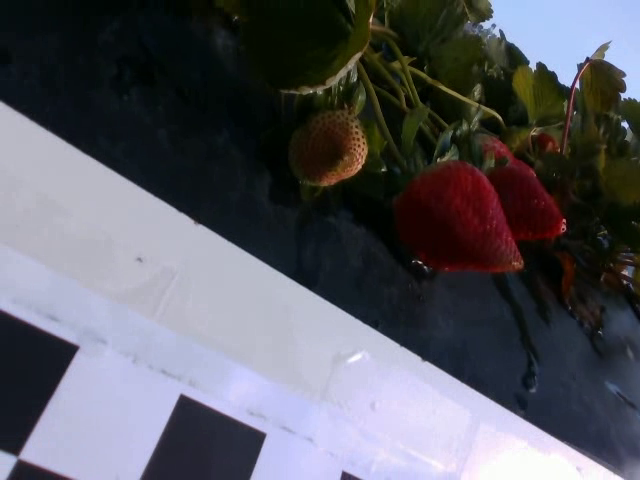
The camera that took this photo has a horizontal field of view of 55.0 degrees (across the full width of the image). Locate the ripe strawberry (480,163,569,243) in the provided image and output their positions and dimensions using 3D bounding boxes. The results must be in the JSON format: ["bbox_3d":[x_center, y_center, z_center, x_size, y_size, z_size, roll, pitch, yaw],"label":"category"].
[{"bbox_3d":[0.104,-0.014,0.320,0.055,0.041,0.045,31,54,35],"label":"ripe strawberry"}]

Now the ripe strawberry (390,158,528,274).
[{"bbox_3d":[0.060,-0.007,0.247,0.050,0.049,0.065,-10,32,-29],"label":"ripe strawberry"}]
